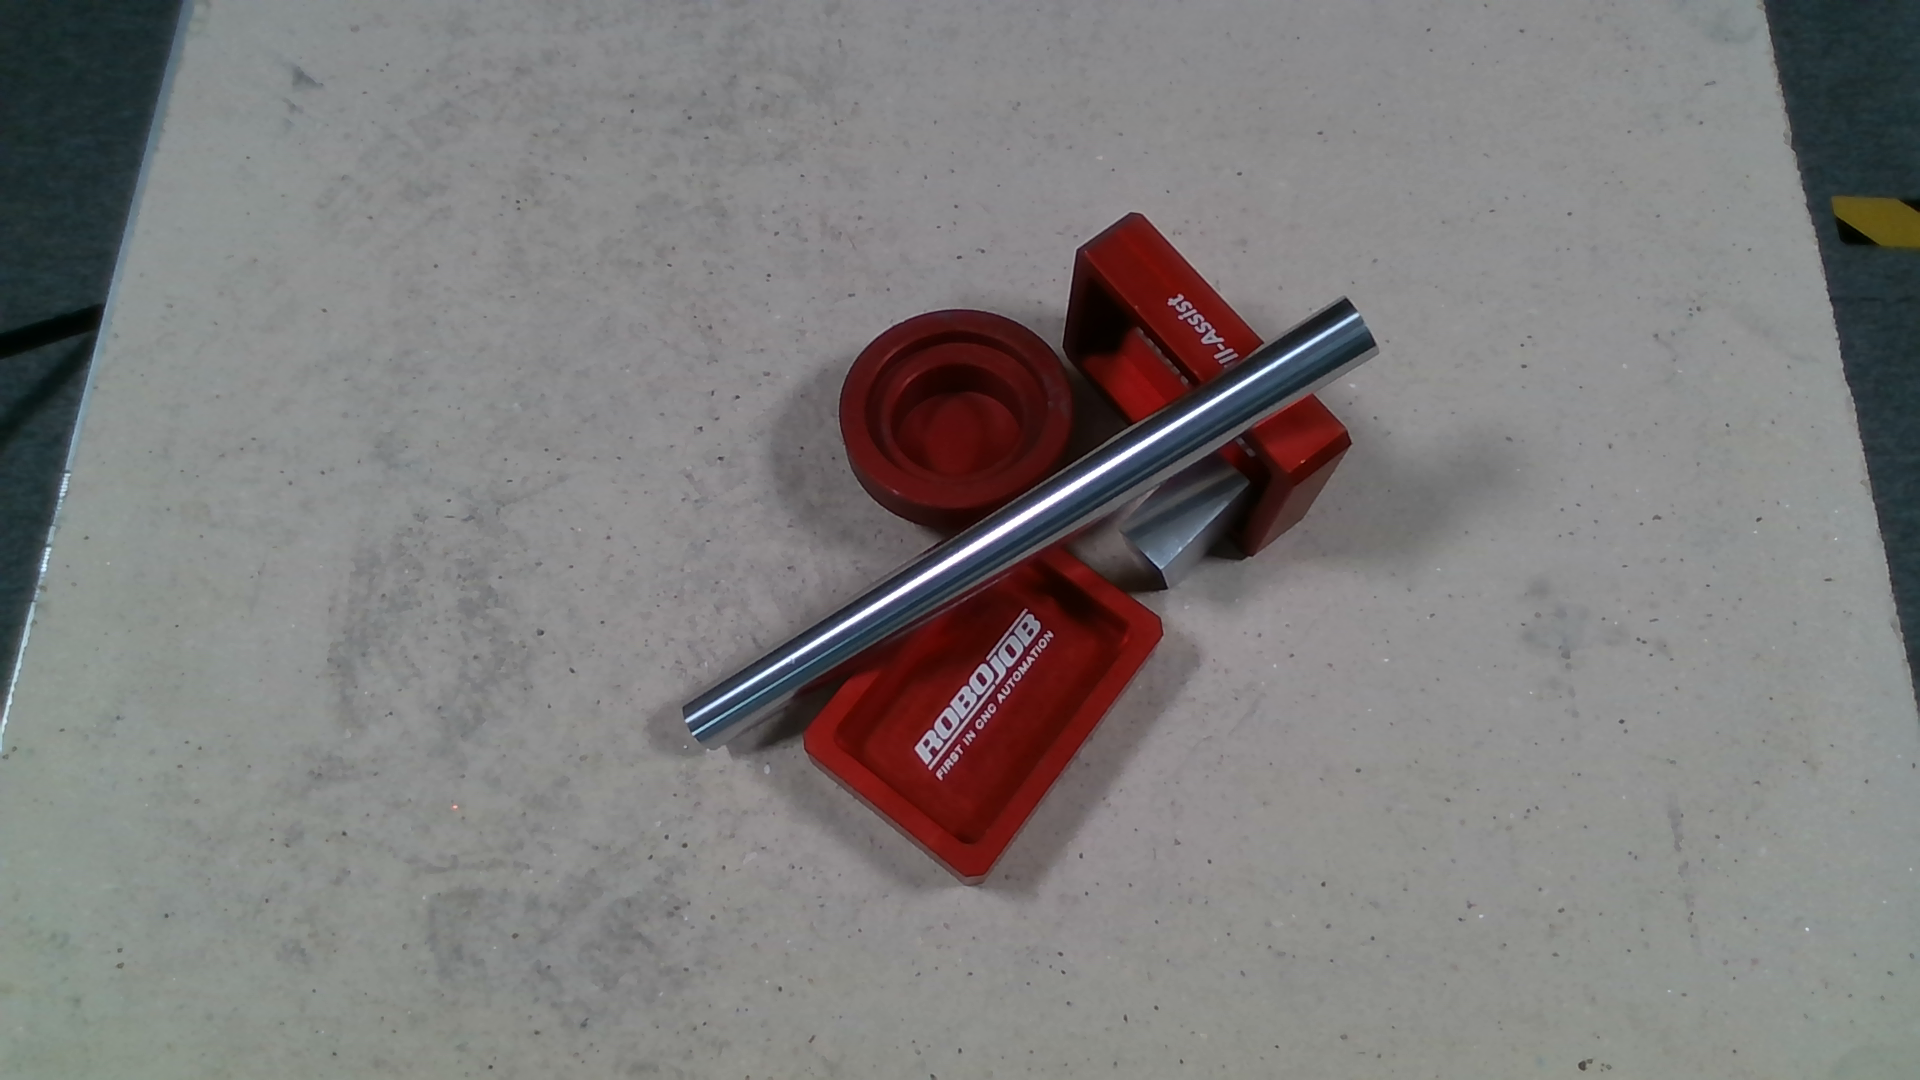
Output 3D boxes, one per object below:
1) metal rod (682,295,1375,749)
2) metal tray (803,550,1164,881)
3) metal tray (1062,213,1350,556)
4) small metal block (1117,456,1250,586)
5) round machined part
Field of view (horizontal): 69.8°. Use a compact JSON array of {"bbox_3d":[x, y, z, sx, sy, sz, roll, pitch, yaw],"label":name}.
[{"bbox_3d":[0.019,-0.002,0.532,0.300,0.025,0.025,-31,72,12],"label":"metal rod"},{"bbox_3d":[0.010,0.062,0.564,0.090,0.030,0.130,36,74,12],"label":"metal tray"},{"bbox_3d":[0.098,-0.063,0.576,0.030,0.090,0.130,-36,74,-12],"label":"metal tray"},{"bbox_3d":[0.094,-0.010,0.573,0.050,0.050,0.025,-45,73,0],"label":"small metal block"},{"bbox_3d":[-0.001,-0.048,0.592,0.098,0.042,0.098,-1,64,3],"label":"round machined part"}]
